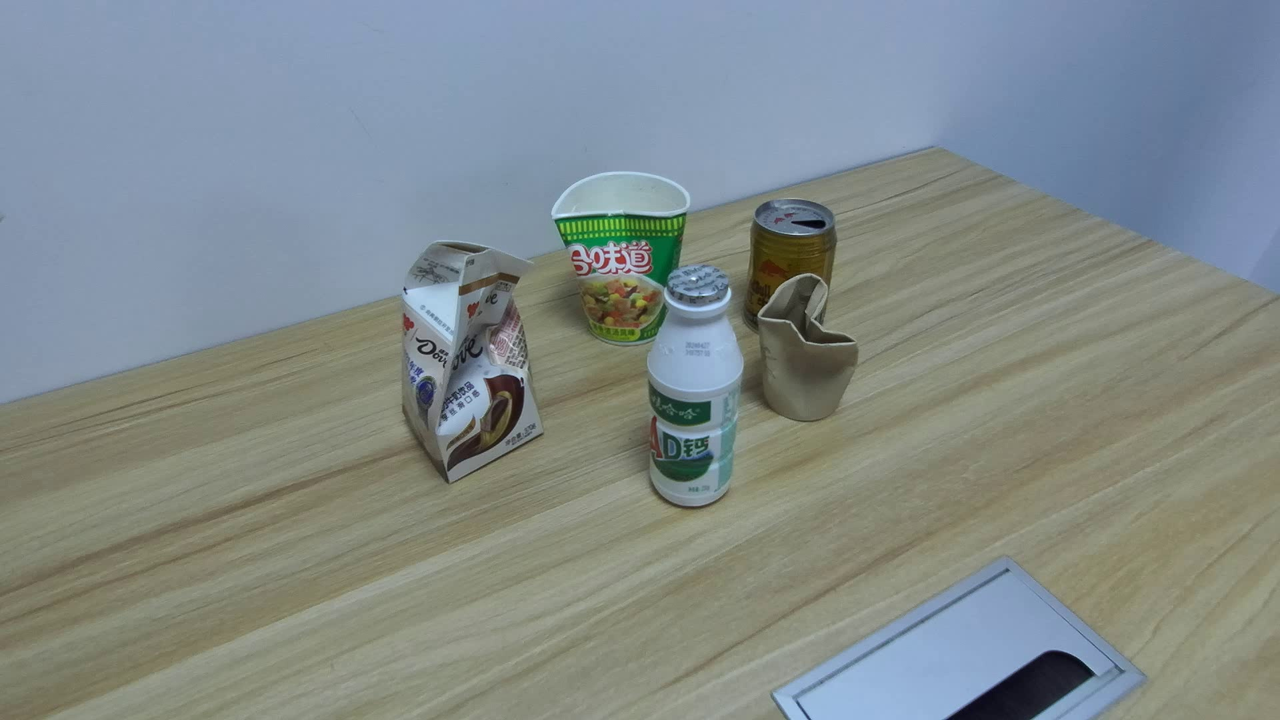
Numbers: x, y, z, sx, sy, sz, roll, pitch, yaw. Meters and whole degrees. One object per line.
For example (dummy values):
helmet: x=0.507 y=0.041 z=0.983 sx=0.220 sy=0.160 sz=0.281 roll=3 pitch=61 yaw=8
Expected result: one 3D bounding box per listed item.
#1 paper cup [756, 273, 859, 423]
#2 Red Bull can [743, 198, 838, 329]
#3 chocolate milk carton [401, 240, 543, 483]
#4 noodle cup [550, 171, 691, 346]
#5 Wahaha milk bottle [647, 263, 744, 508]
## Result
paper cup: x=0.114 y=-0.004 z=0.469 sx=0.058 sy=0.083 sz=0.066 roll=22 pitch=46 yaw=25
Red Bull can: x=0.114 y=-0.069 z=0.543 sx=0.068 sy=0.093 sz=0.068 roll=-1 pitch=37 yaw=1
chocolate milk carton: x=-0.105 y=-0.009 z=0.443 sx=0.089 sy=0.155 sz=0.076 roll=-17 pitch=42 yaw=-40
noodle cup: x=-0.006 y=-0.080 z=0.552 sx=0.093 sy=0.109 sz=0.087 roll=15 pitch=45 yaw=19
Wahaha milk bottle: x=0.030 y=0.018 z=0.394 sx=0.053 sy=0.147 sz=0.053 roll=-1 pitch=39 yaw=1
